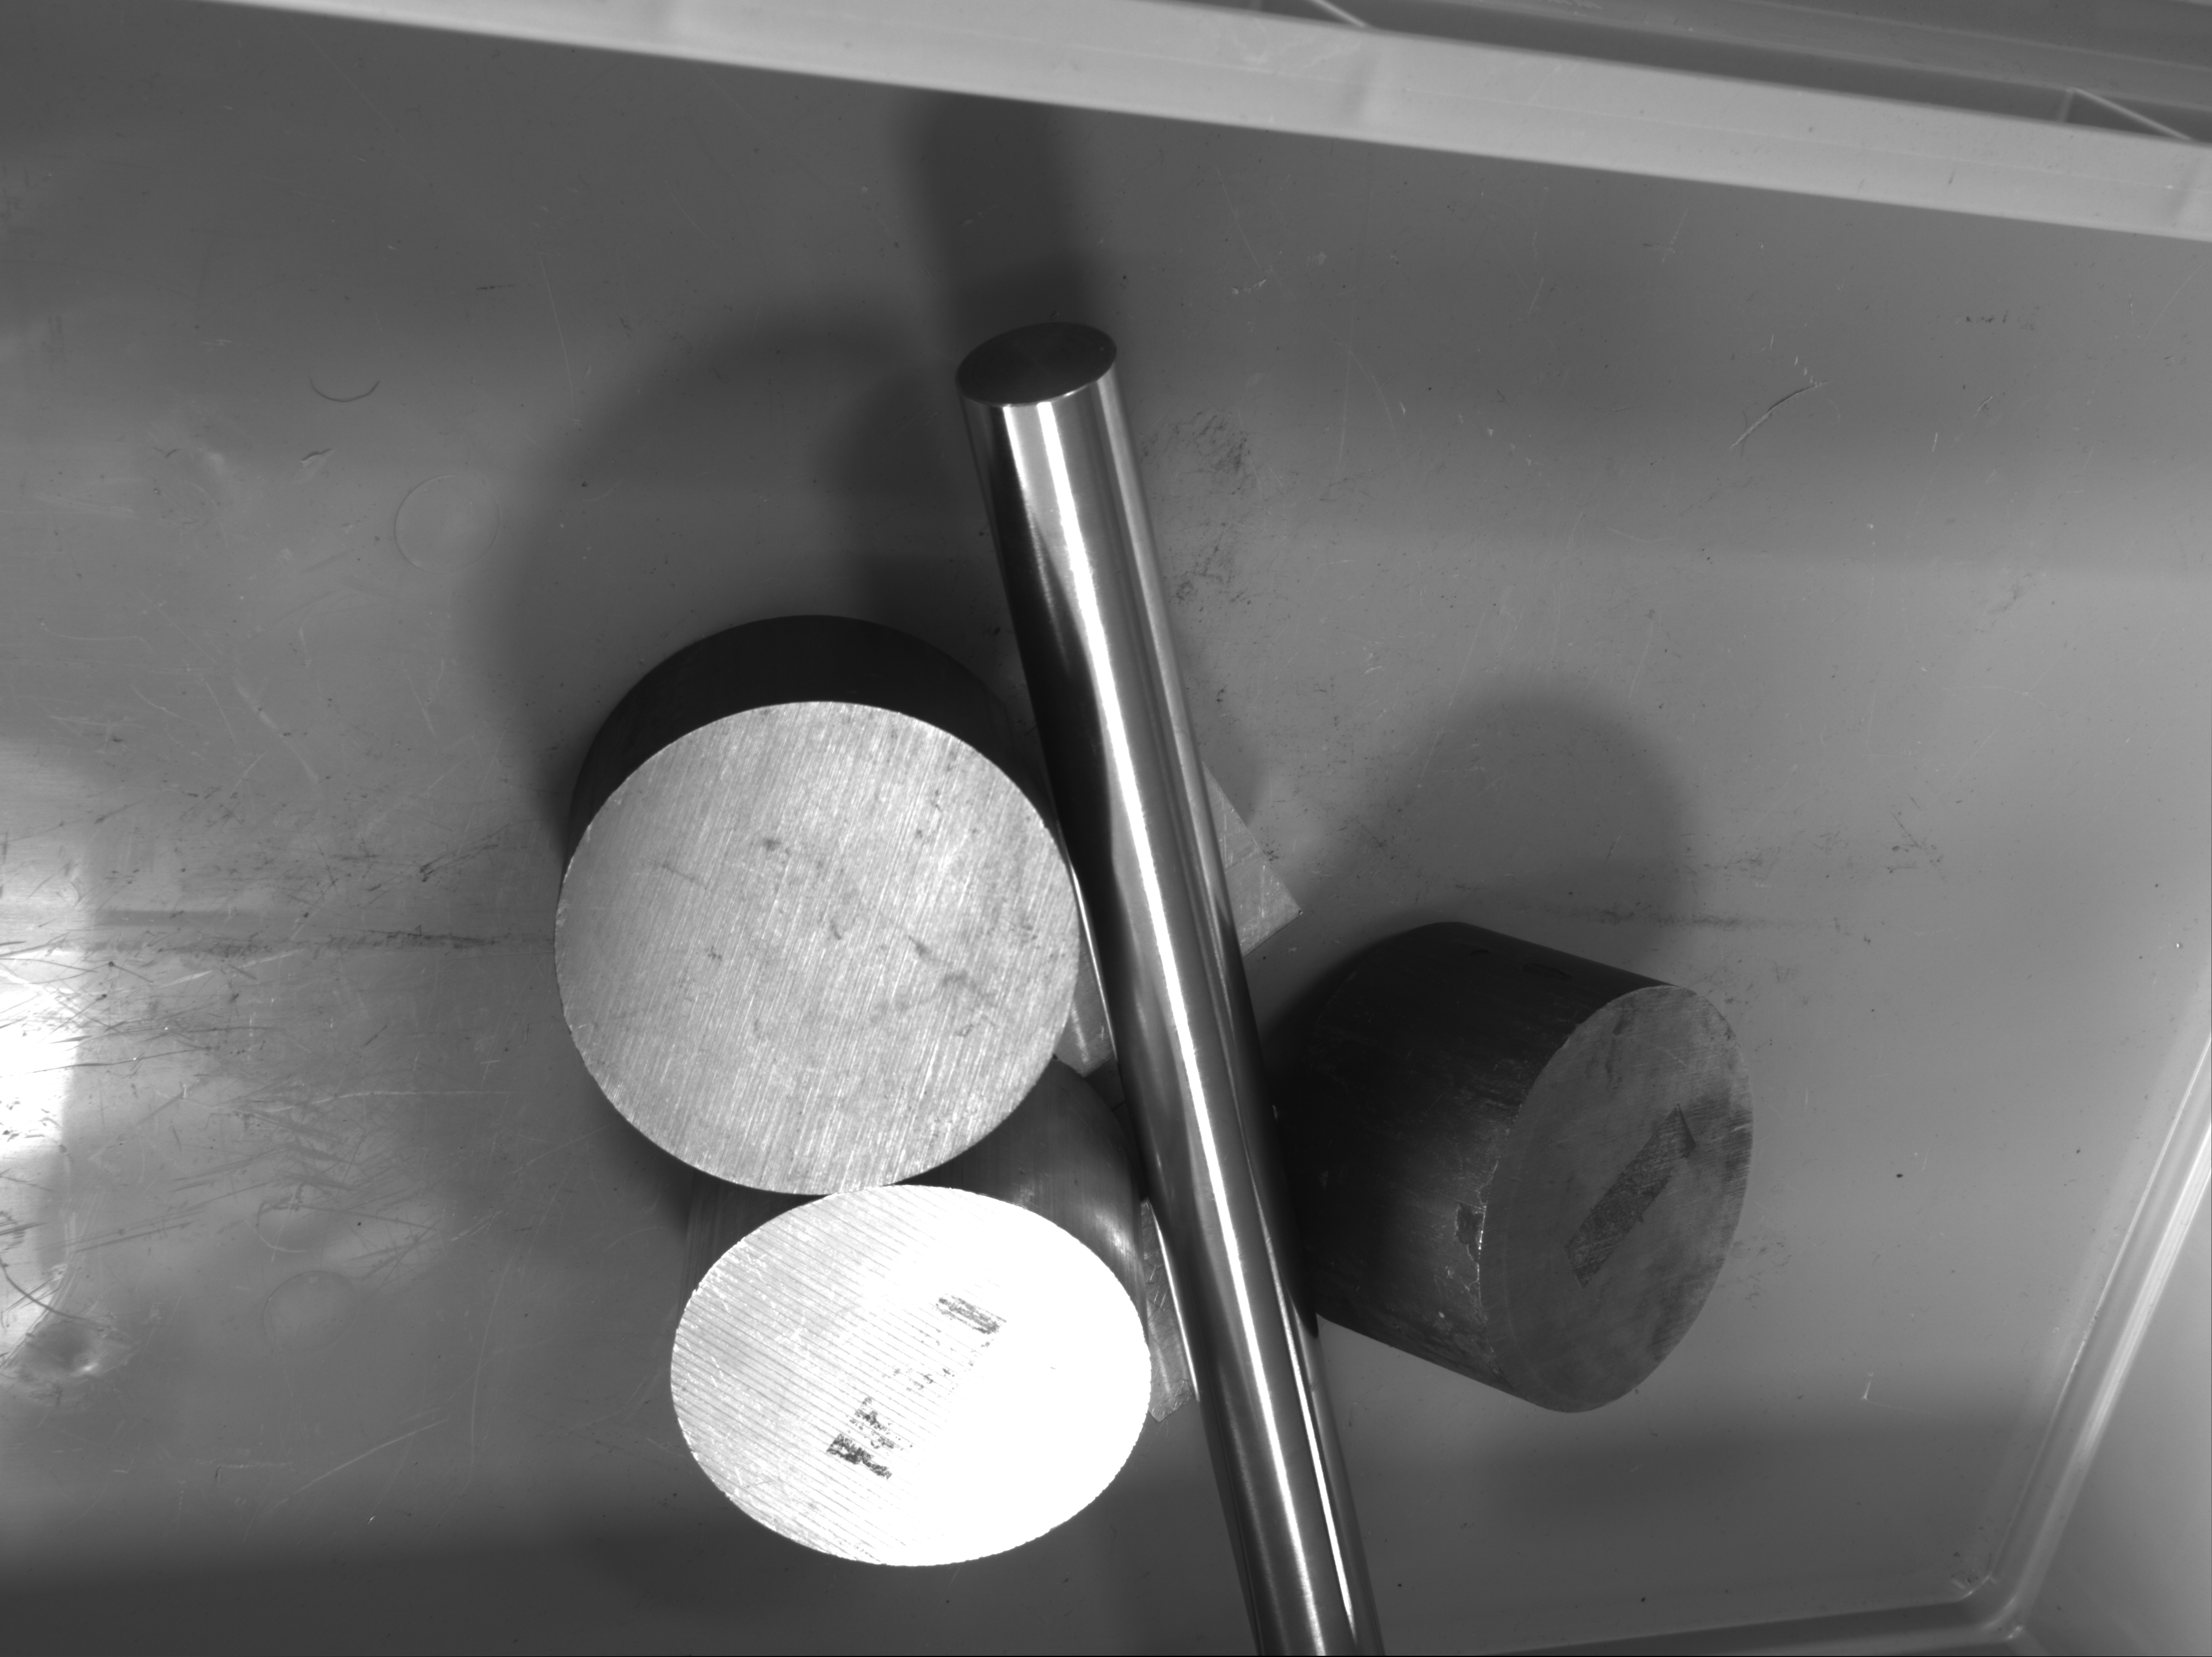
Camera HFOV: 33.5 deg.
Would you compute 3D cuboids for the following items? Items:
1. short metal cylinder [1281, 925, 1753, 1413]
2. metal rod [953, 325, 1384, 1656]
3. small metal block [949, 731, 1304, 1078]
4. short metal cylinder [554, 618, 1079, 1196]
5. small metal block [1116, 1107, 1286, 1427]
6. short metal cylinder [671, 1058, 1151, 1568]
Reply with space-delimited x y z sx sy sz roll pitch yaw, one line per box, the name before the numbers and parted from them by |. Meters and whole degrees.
short metal cylinder | 0.076 0.062 0.682 0.080 0.050 0.080 -17 114 -43
metal rod | 0.016 0.050 0.642 0.025 0.025 0.300 -23 126 -14
small metal block | -0.001 0.008 0.641 0.050 0.025 0.050 -37 129 -3
short metal cylinder | -0.046 0.012 0.585 0.080 0.050 0.080 -2 108 -6
small metal block | 0.015 0.076 0.690 0.050 0.025 0.050 -35 129 -5
short metal cylinder | -0.033 0.080 0.634 0.080 0.050 0.080 -1 120 -1
